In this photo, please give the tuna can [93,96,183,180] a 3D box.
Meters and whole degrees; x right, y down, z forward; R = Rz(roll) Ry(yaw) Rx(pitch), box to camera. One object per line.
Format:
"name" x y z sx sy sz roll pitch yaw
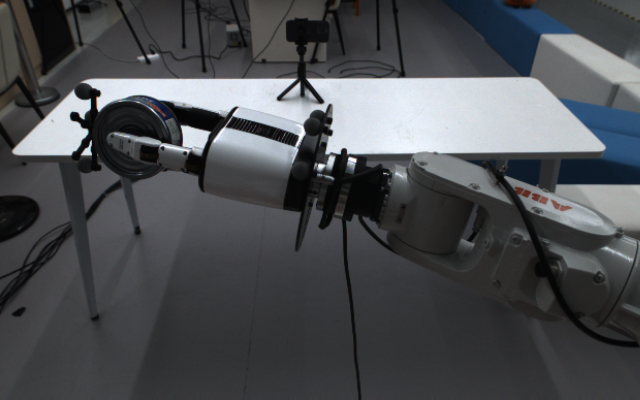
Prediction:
"tuna can" -0.191 -0.066 0.513 0.085 0.085 0.034 4 19 3
